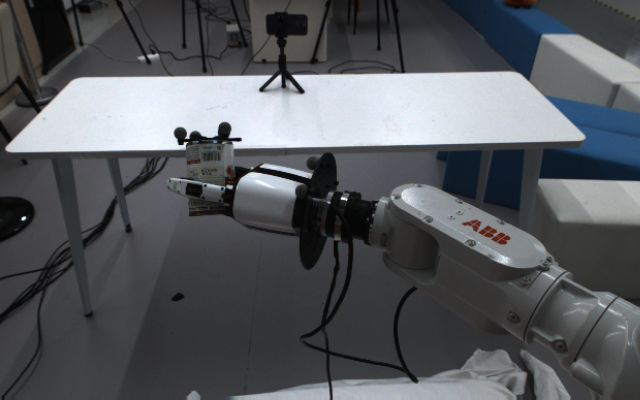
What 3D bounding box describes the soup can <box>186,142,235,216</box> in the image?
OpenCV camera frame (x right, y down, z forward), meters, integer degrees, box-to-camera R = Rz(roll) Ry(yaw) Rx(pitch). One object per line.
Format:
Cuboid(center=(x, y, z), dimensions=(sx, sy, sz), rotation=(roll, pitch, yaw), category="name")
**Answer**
Cuboid(center=(-0.152, -0.028, 0.679), dimensions=(0.067, 0.101, 0.067), rotation=(-3, -1, 0), category="soup can")
